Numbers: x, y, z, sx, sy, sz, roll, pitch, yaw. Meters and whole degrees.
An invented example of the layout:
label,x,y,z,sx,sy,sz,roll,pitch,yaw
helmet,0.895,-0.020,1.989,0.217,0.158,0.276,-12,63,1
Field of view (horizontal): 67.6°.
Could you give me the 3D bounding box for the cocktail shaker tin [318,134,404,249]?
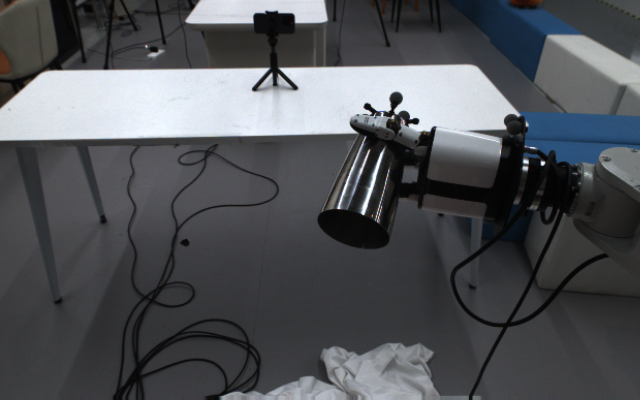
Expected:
label,x,y,z,sx,sy,sz,roll,pitch,yaw
cocktail shaker tin,0.067,-0.035,0.632,0.093,0.093,0.170,13,59,16
